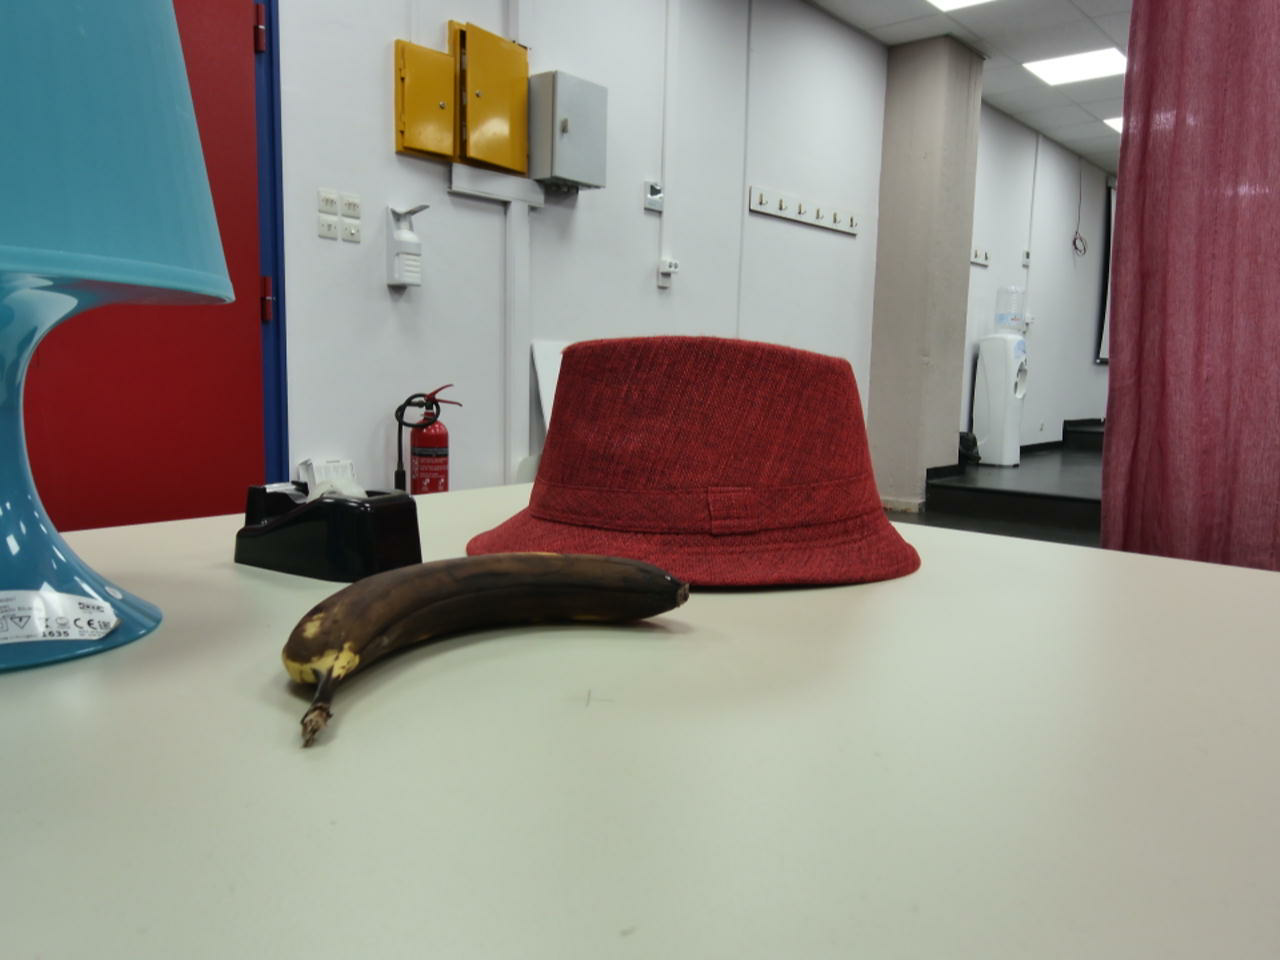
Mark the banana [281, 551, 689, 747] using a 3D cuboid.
[{"bbox_3d":[-0.070,0.051,0.398,0.091,0.033,0.188,3,6,41],"label":"banana"}]
